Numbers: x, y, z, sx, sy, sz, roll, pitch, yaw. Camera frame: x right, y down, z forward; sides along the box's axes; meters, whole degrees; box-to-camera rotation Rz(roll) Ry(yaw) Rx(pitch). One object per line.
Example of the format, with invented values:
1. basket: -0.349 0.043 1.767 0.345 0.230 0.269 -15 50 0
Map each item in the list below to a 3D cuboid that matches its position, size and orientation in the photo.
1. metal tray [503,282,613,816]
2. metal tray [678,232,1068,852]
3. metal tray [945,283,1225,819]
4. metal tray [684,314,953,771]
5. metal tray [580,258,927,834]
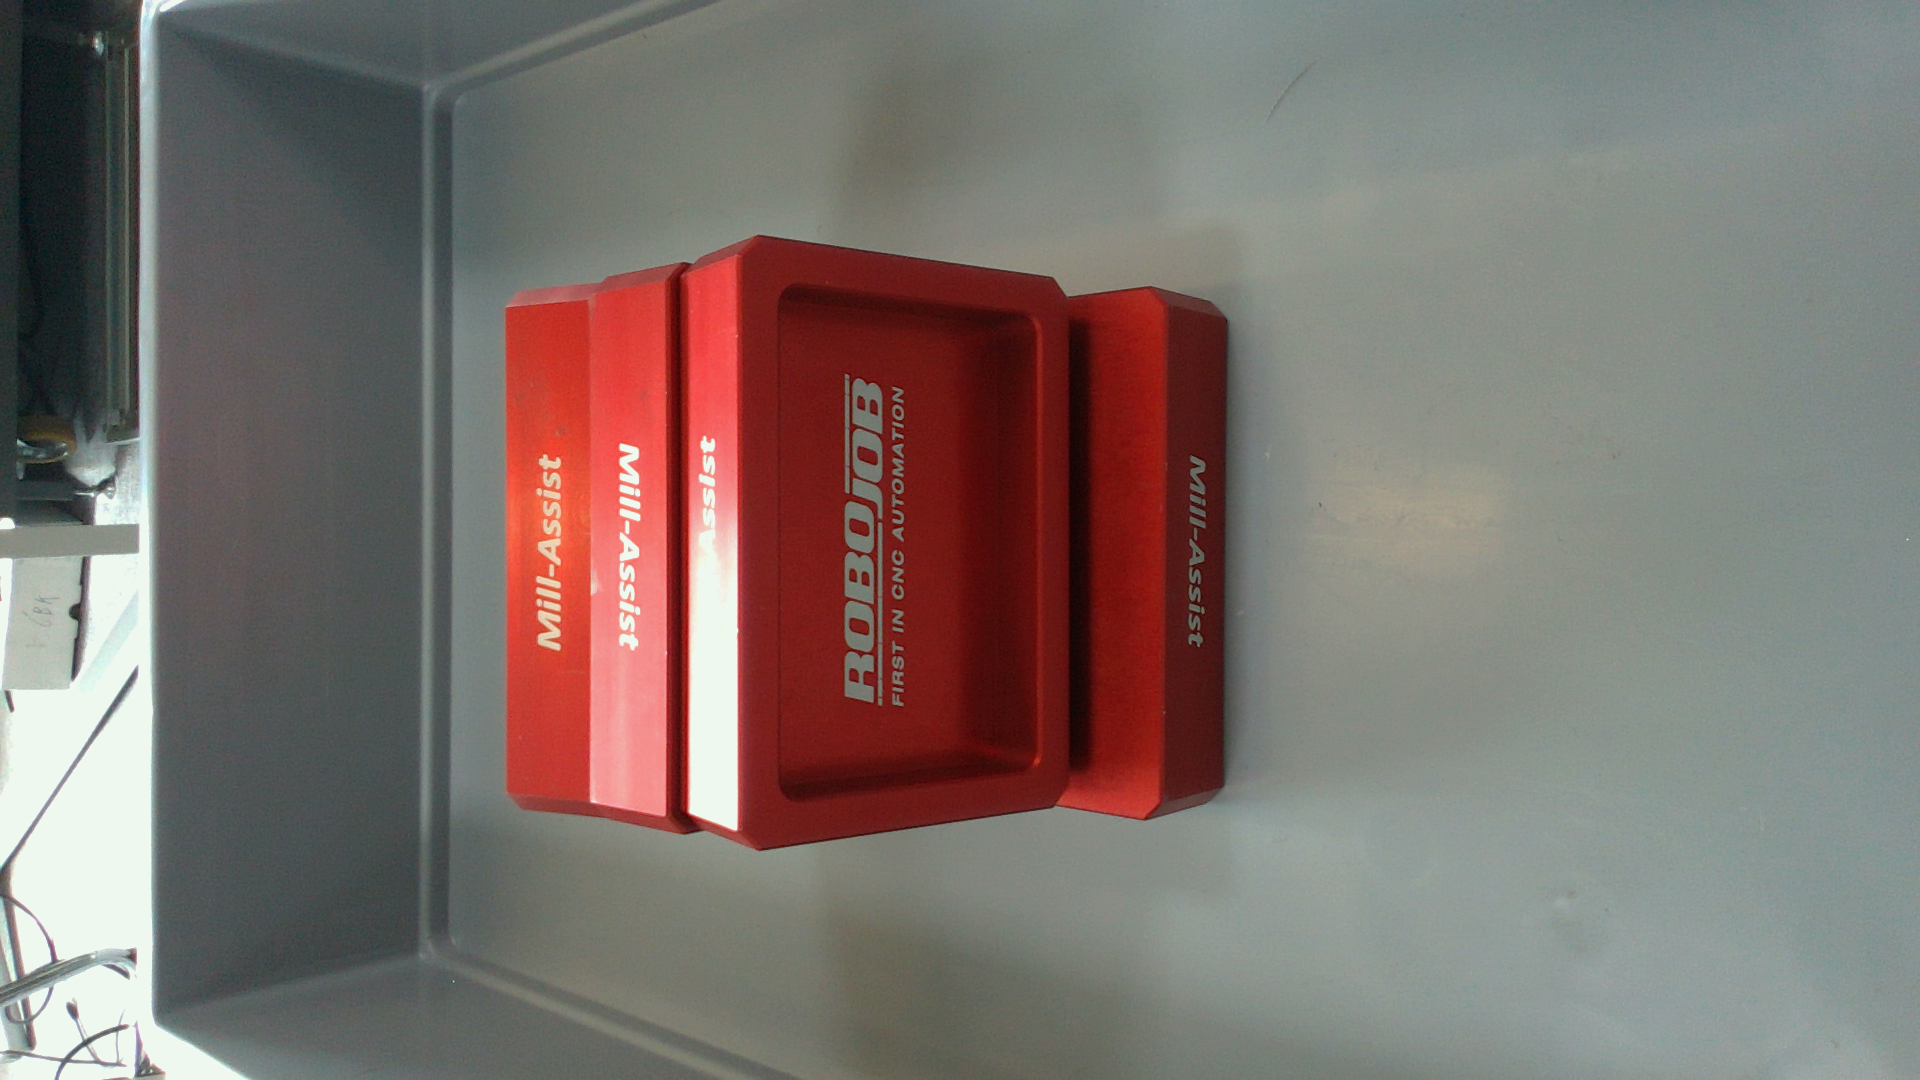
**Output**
1. metal tray: -0.080 0.002 0.375 0.030 0.090 0.130 0 90 28
2. metal tray: -0.018 0.000 0.323 0.030 0.090 0.130 0 90 54
3. metal tray: 0.024 0.002 0.370 0.090 0.030 0.130 1 90 40
4. metal tray: -0.046 0.001 0.427 0.090 0.030 0.130 1 90 40
5. metal tray: -0.048 0.002 0.350 0.030 0.090 0.130 0 88 40
